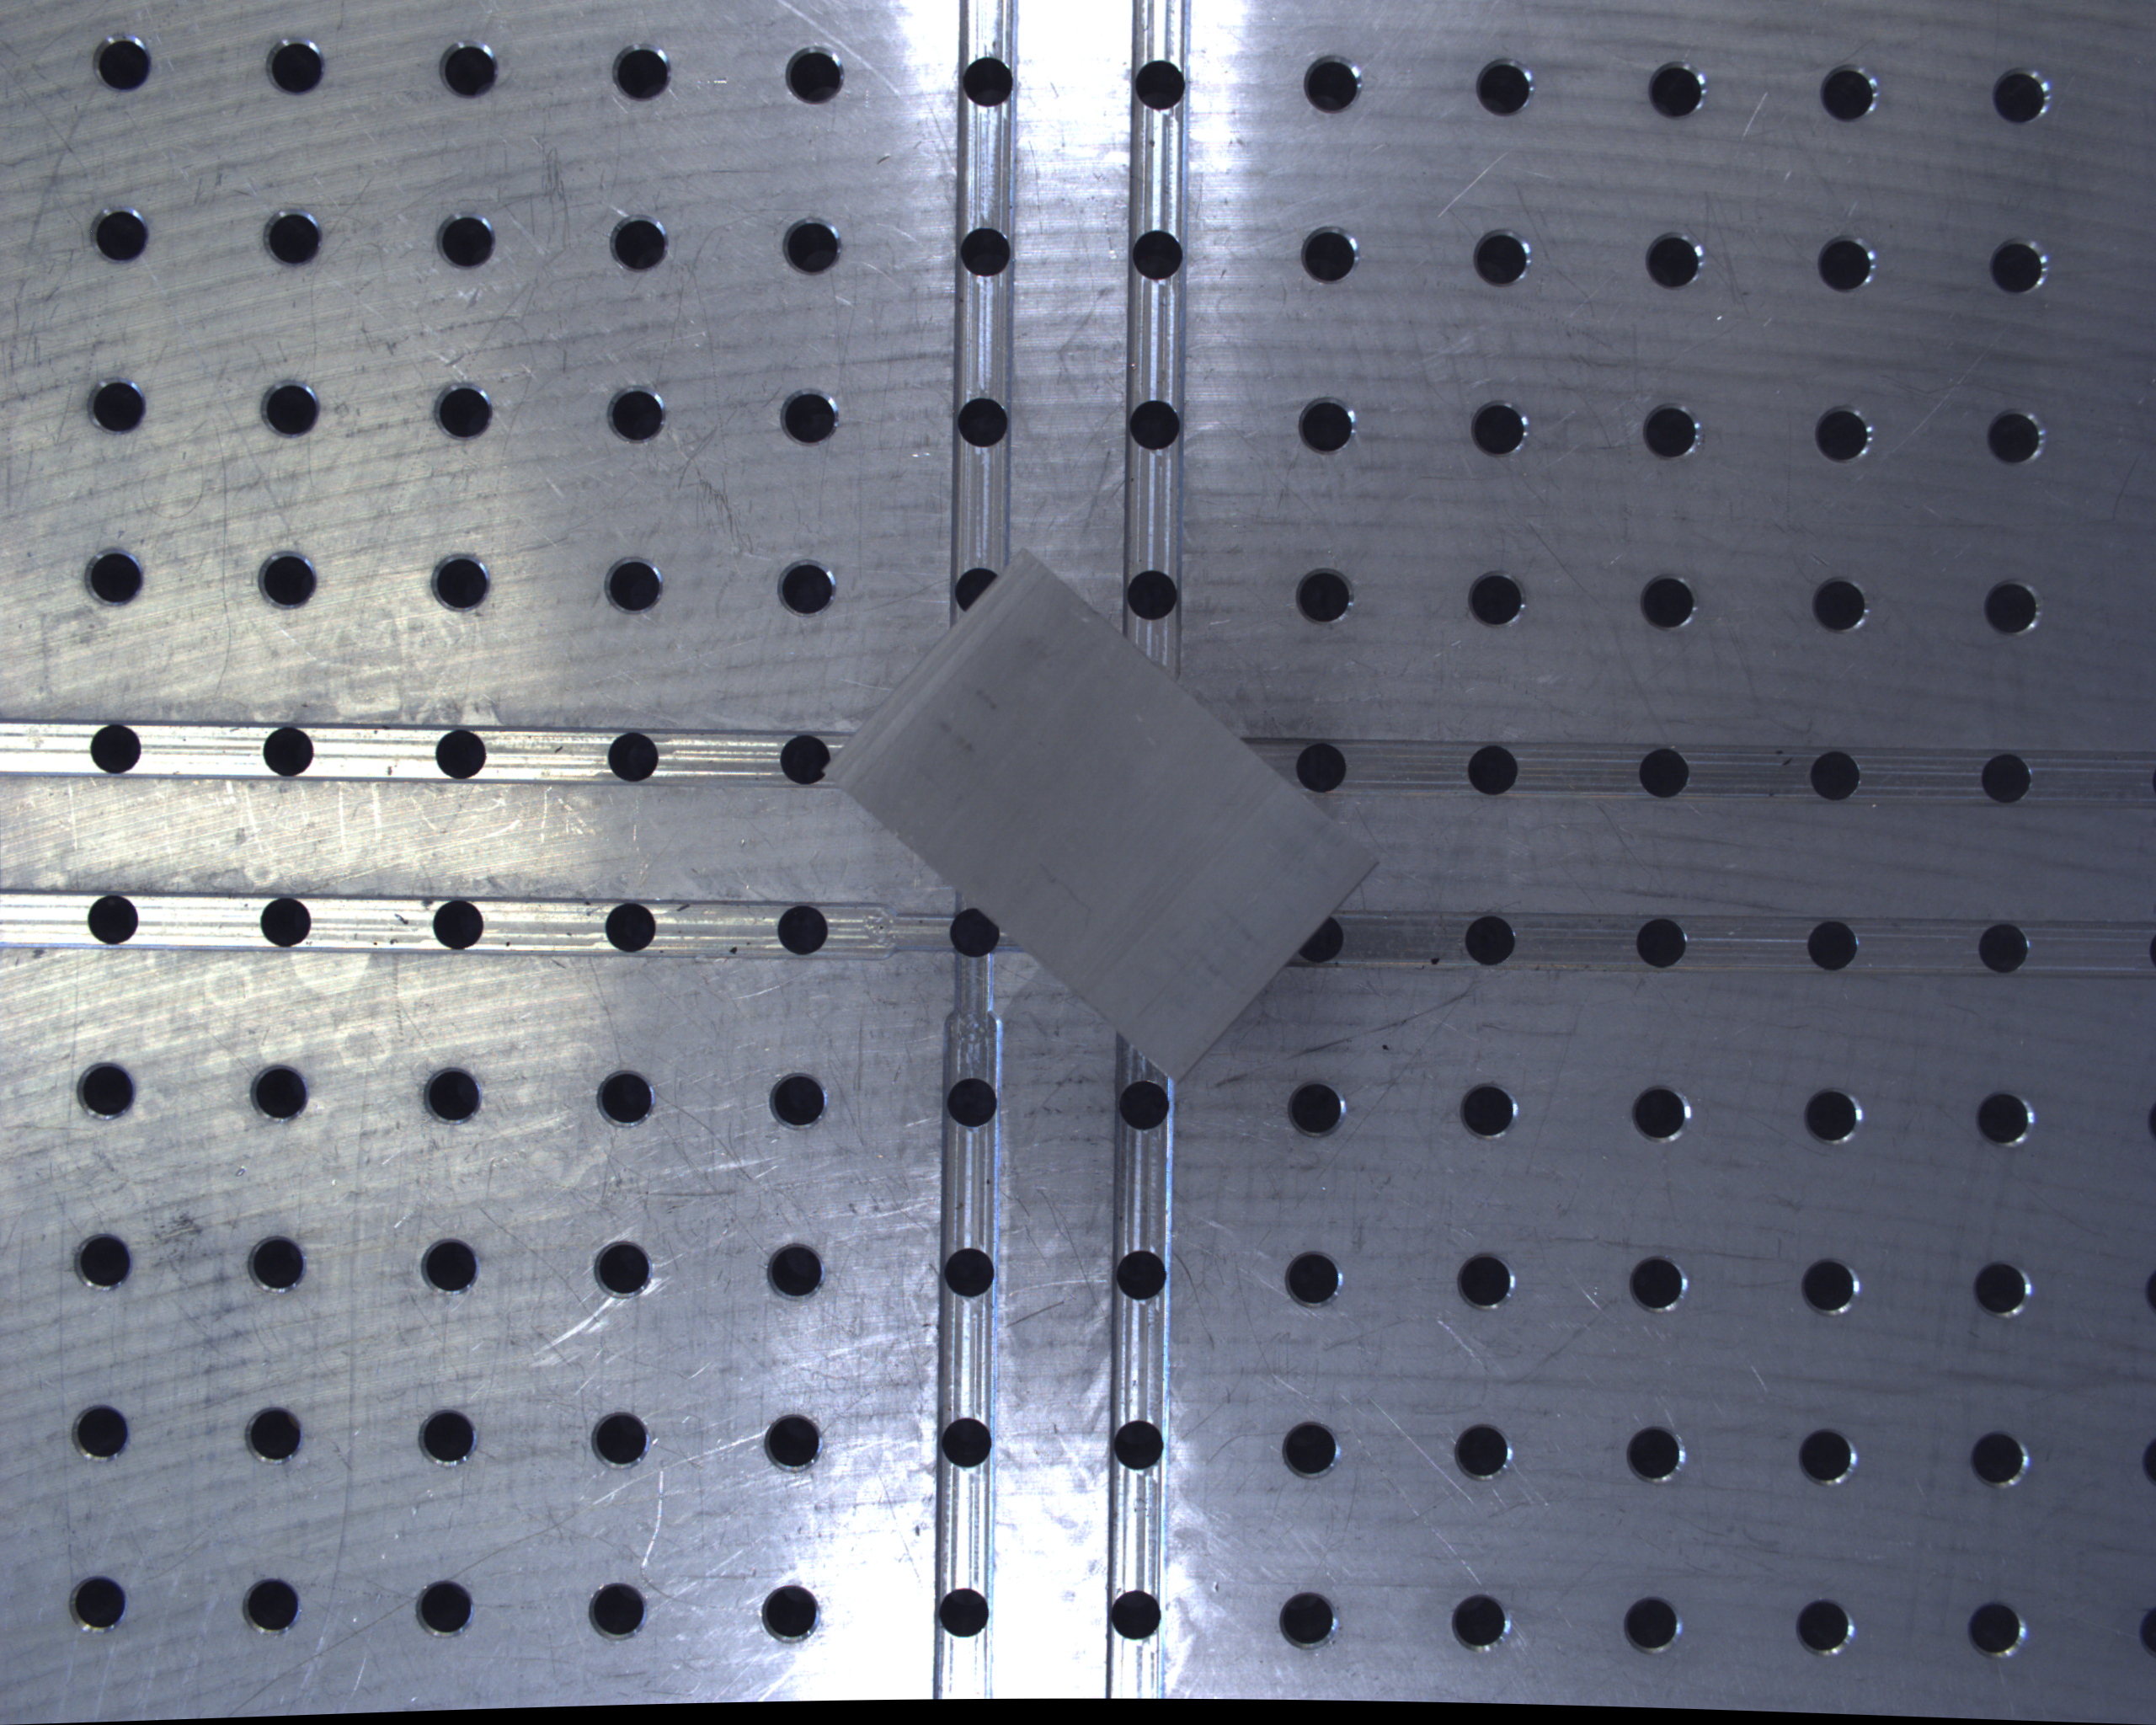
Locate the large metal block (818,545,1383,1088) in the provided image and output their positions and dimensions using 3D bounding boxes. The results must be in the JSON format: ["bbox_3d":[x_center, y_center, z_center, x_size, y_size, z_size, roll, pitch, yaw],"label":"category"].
[{"bbox_3d":[0.004,-0.008,0.386,0.080,0.080,0.050,41,90,-1],"label":"large metal block"}]
